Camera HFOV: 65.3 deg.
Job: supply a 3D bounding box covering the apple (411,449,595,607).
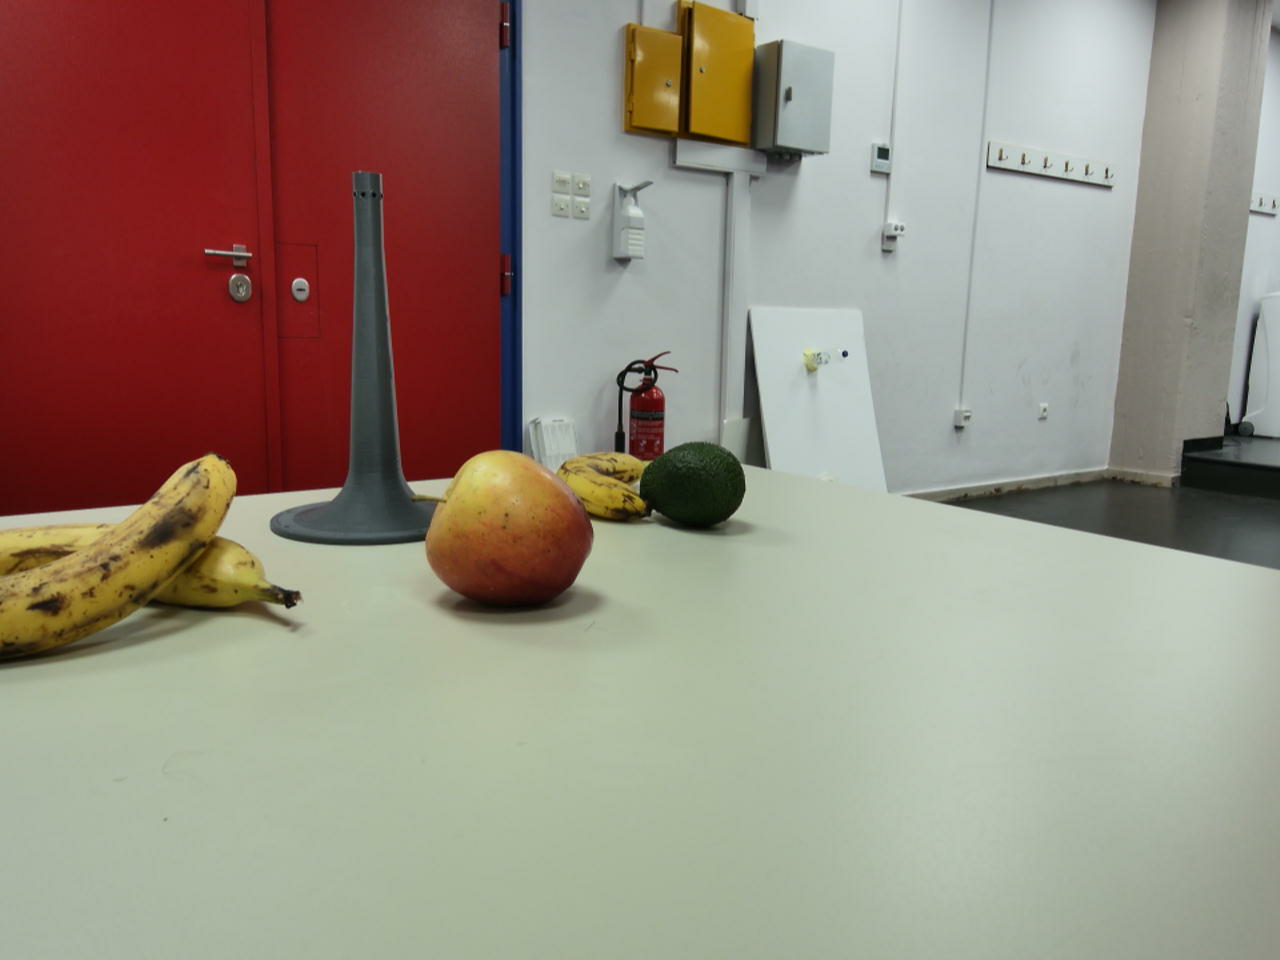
[{"bbox_3d":[-0.074,0.026,0.555,0.093,0.084,0.086,4,8,18],"label":"apple"}]
